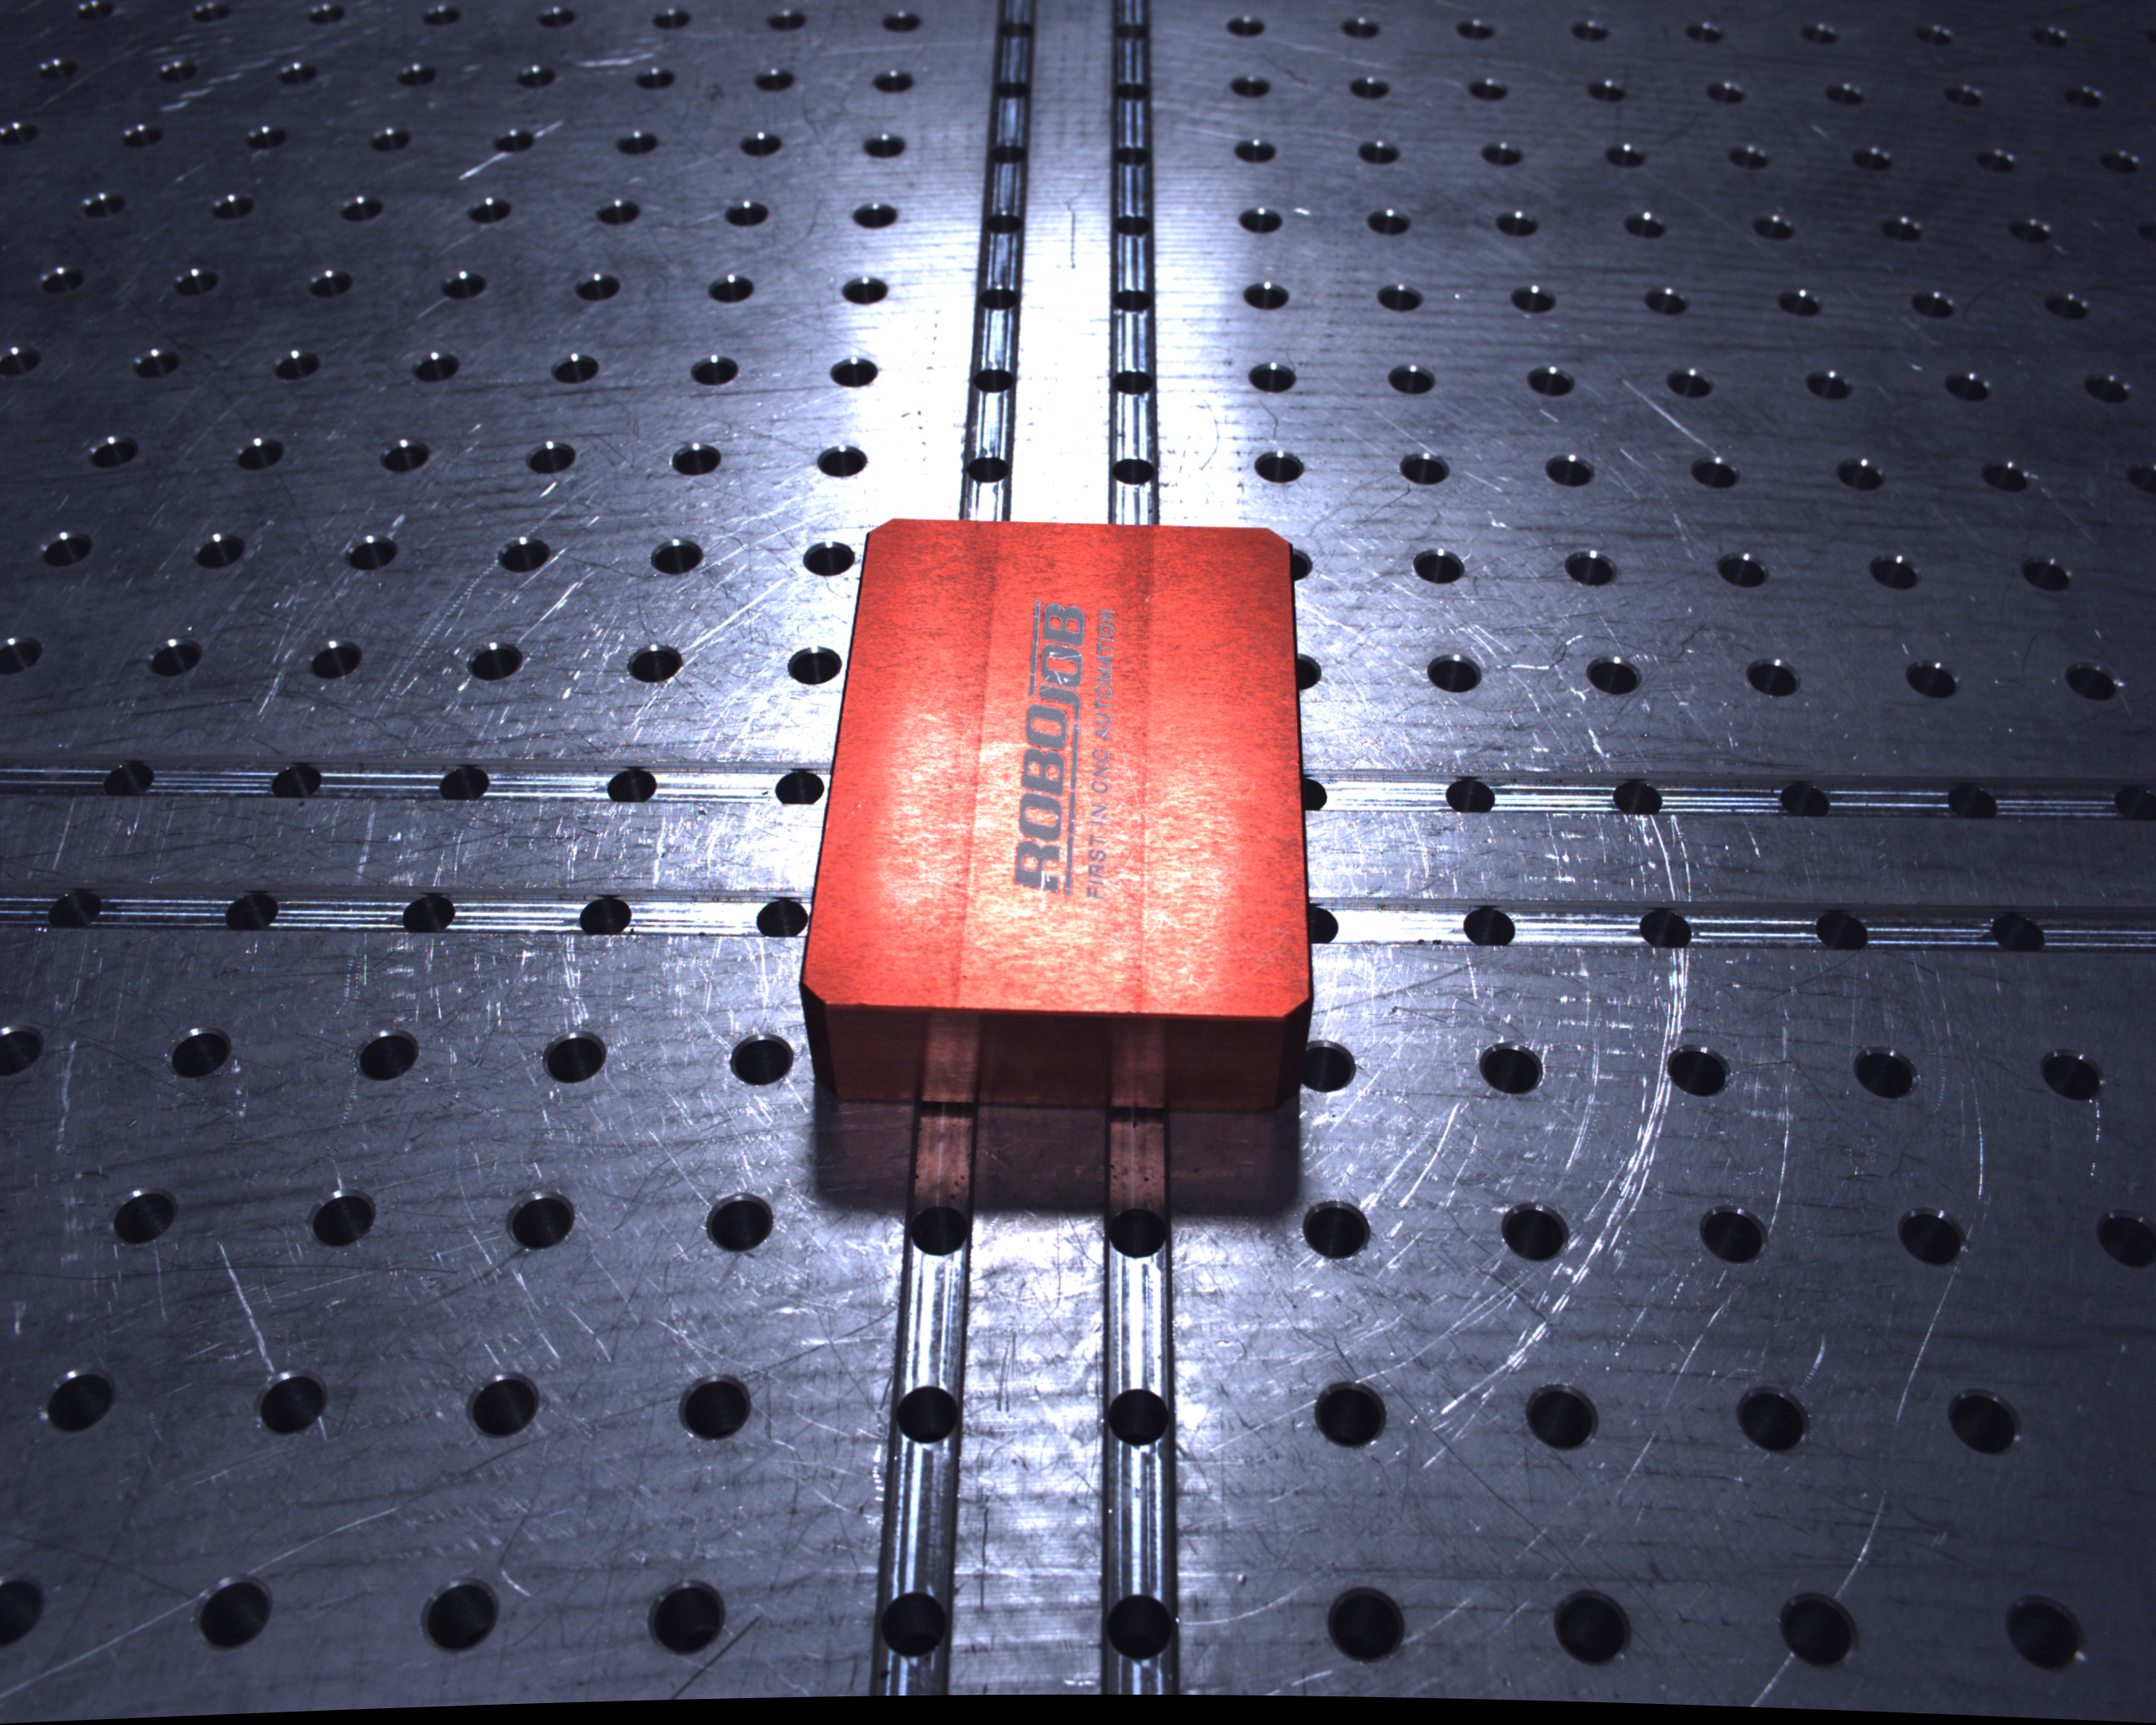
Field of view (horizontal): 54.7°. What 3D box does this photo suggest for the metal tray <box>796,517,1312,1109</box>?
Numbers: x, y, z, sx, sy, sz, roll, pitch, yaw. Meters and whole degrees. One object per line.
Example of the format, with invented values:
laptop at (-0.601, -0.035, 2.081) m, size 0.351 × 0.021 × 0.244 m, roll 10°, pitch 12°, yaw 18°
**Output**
metal tray at (-0.002, -0.014, 0.415) m, size 0.091 × 0.030 × 0.130 m, roll 2°, pitch 50°, yaw 1°
